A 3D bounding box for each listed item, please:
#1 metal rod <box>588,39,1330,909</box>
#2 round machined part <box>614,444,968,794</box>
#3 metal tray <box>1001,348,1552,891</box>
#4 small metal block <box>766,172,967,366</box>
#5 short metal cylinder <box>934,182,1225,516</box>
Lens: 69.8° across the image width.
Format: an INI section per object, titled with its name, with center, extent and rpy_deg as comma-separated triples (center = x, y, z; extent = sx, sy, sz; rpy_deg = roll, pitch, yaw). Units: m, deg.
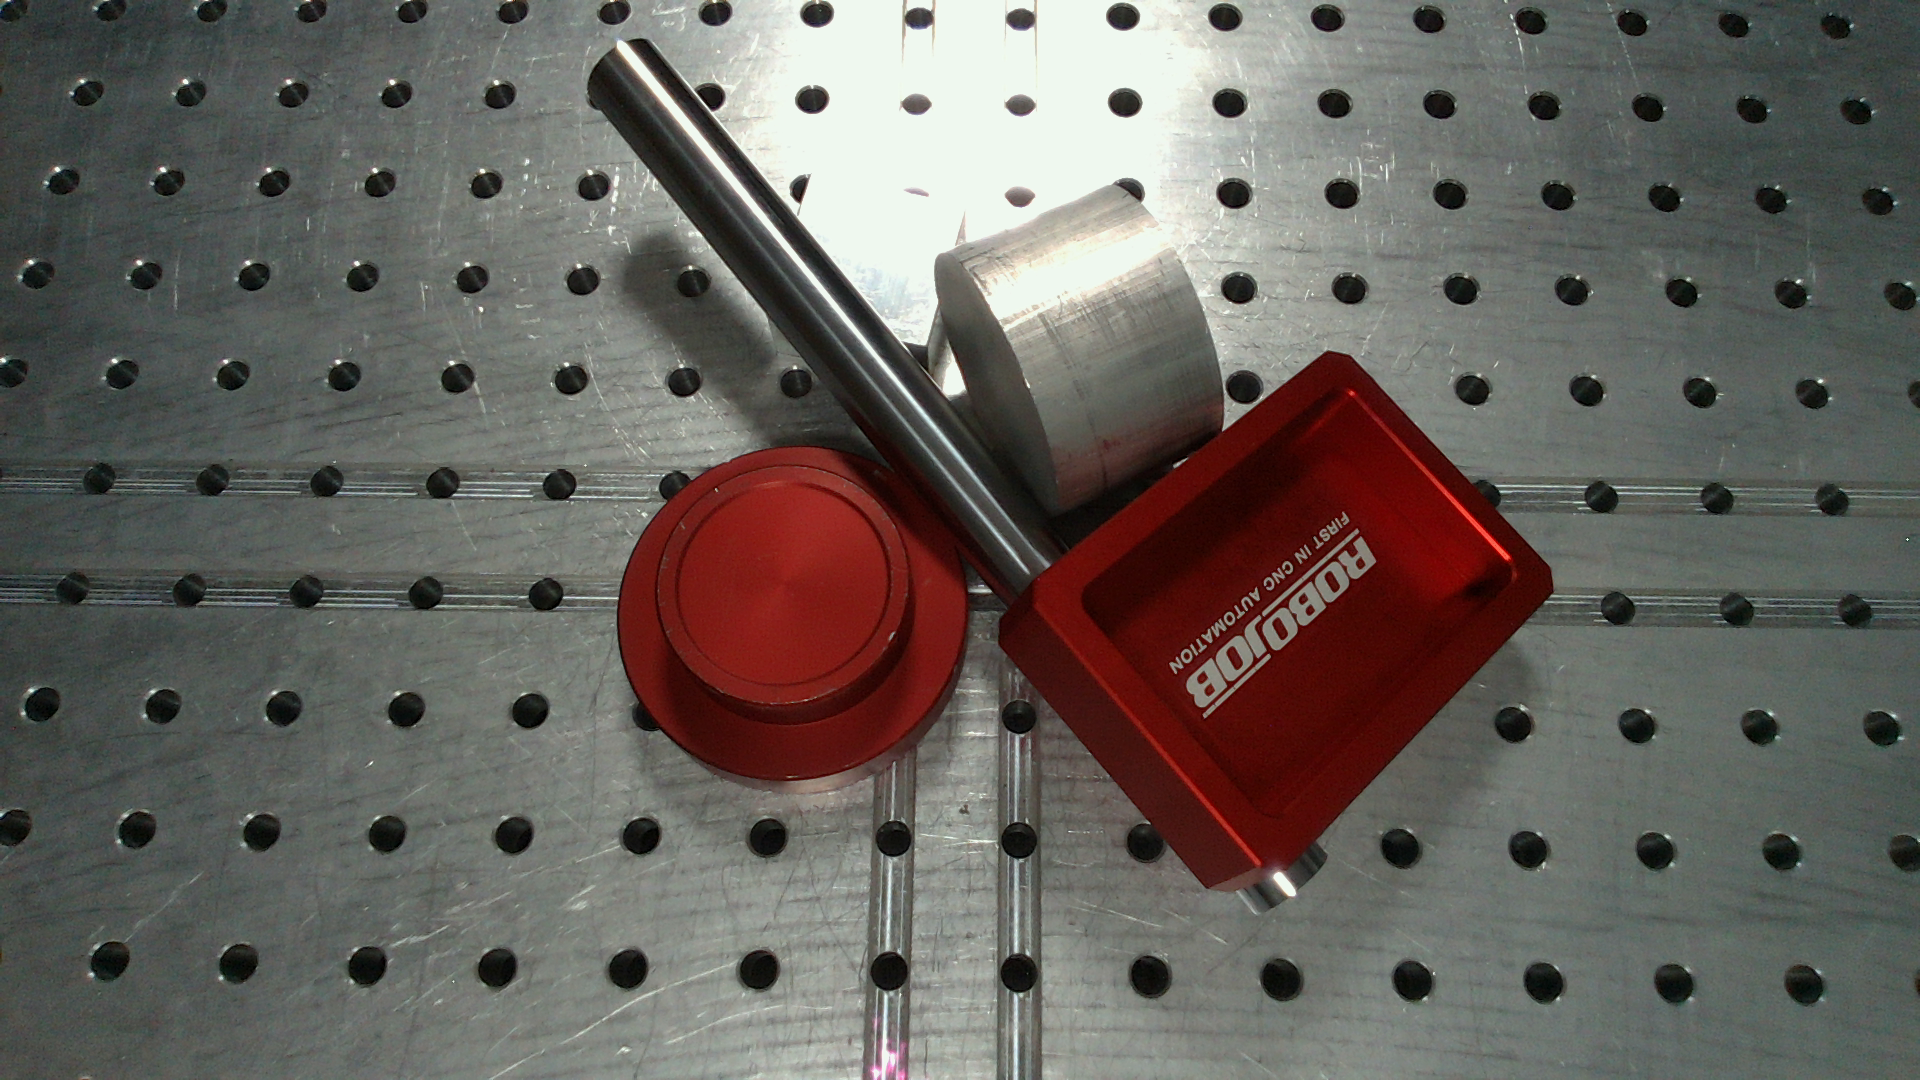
[metal rod]
center = -0.005, -0.024, 0.388
extent = 0.025, 0.025, 0.300
rpy_deg = -38, 82, -13
[round machined part]
center = -0.047, 0.018, 0.380
extent = 0.098, 0.042, 0.098
rpy_deg = 0, 70, 0
[metal tray]
center = 0.086, 0.017, 0.366
extent = 0.130, 0.030, 0.090
rpy_deg = -37, 81, -28
[small metal block]
center = -0.028, -0.081, 0.427
extent = 0.050, 0.025, 0.050
rpy_deg = 12, 70, 4
[short metal cylinder]
center = 0.032, -0.053, 0.387
extent = 0.050, 0.080, 0.080
rpy_deg = -24, 72, -8
